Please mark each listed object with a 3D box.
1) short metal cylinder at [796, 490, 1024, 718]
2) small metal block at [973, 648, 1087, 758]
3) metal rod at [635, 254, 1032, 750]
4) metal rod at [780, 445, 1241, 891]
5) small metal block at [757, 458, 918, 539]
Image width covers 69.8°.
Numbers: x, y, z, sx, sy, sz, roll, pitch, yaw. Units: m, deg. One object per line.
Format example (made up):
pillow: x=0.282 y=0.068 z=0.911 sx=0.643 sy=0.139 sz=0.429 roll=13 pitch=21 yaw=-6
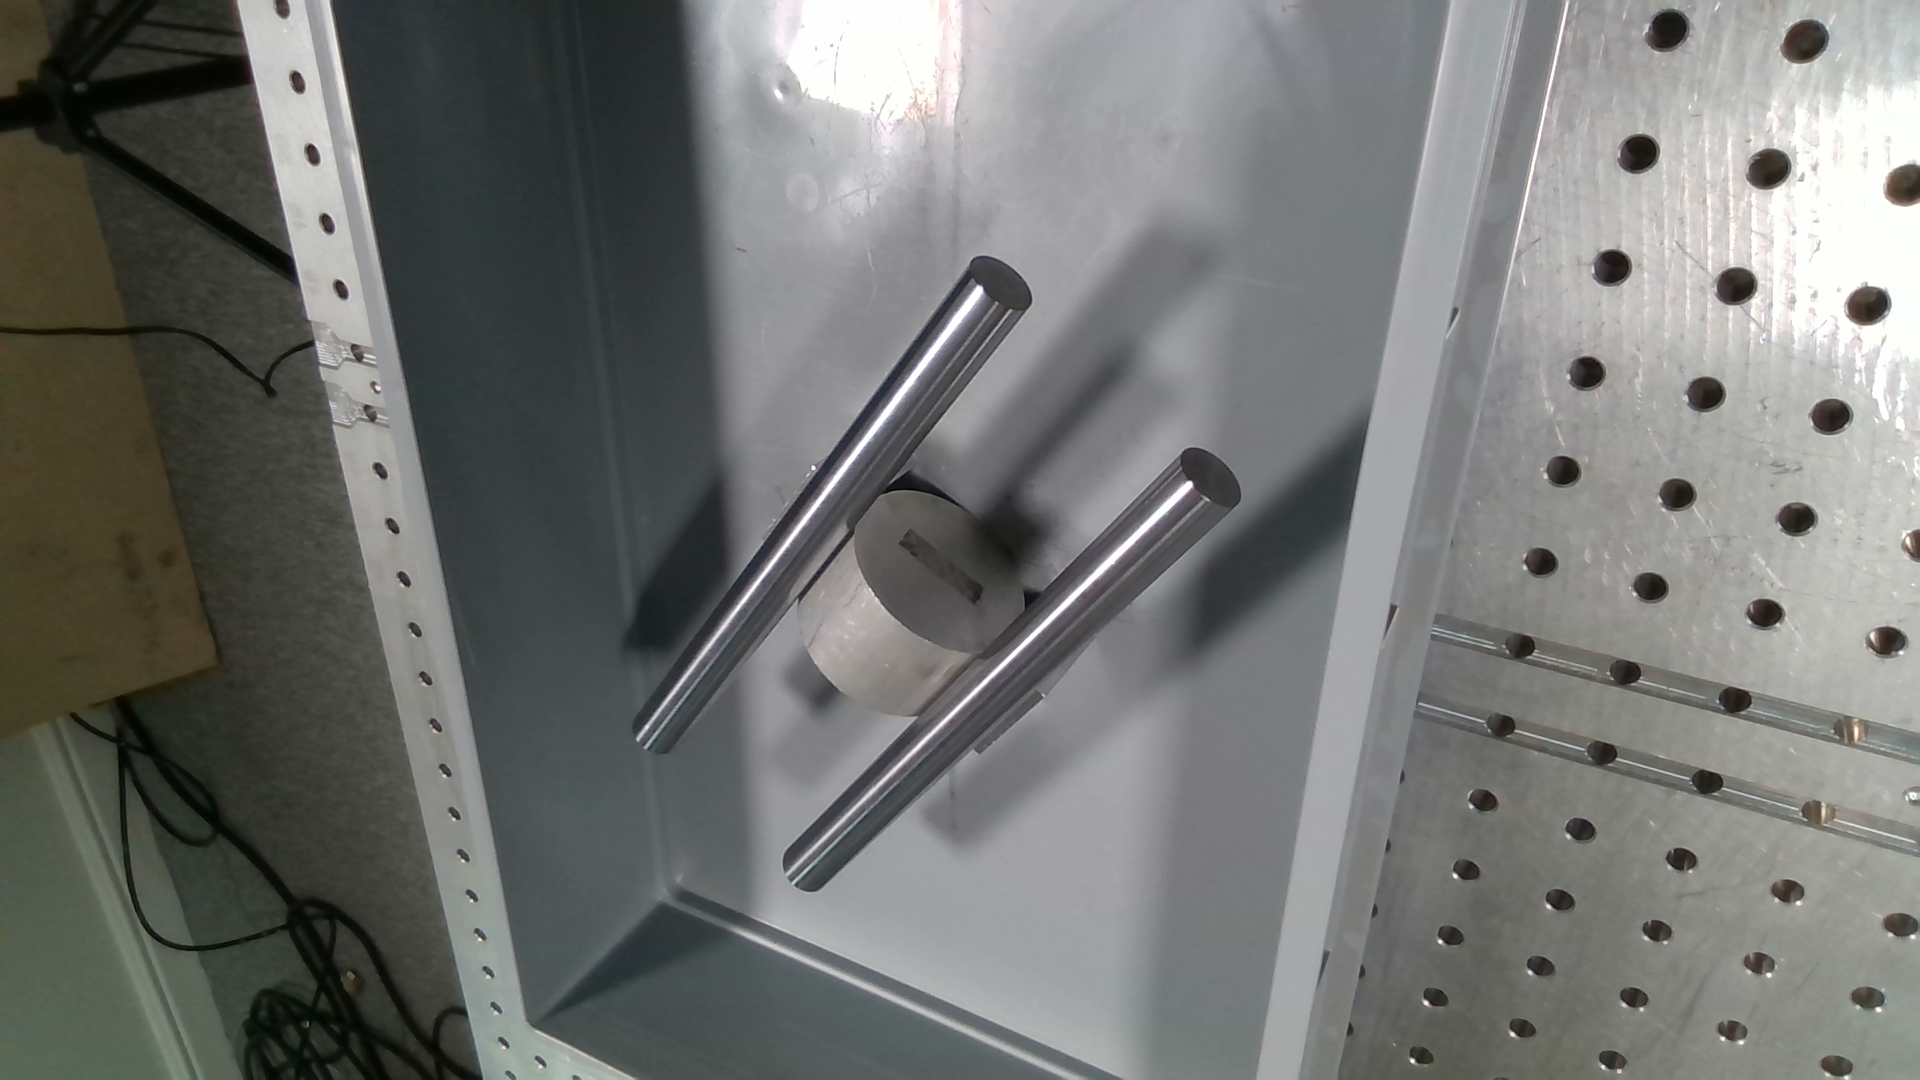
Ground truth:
short metal cylinder: x=-0.021 y=0.026 z=0.570 sx=0.080 sy=0.080 sz=0.050 roll=45 pitch=129 yaw=3
small metal block: x=0.024 y=0.057 z=0.579 sx=0.025 sy=0.050 sz=0.050 roll=45 pitch=129 yaw=3
metal rod: x=-0.064 y=0.001 z=0.555 sx=0.025 sy=0.025 sz=0.301 roll=44 pitch=129 yaw=3
metal rod: x=0.005 y=0.065 z=0.547 sx=0.025 sy=0.025 sz=0.301 roll=44 pitch=129 yaw=3
small metal block: x=-0.052 y=-0.017 z=0.585 sx=0.025 sy=0.050 sz=0.050 roll=45 pitch=129 yaw=3
